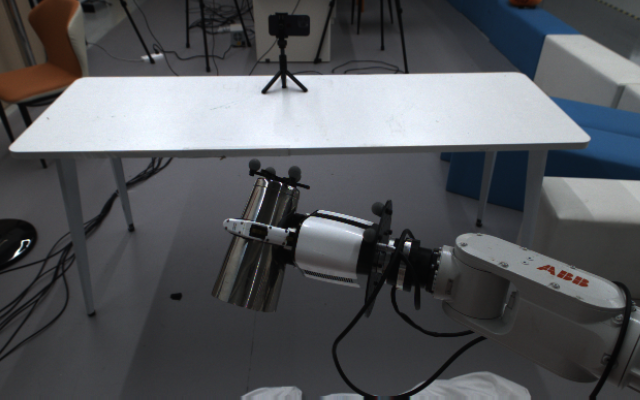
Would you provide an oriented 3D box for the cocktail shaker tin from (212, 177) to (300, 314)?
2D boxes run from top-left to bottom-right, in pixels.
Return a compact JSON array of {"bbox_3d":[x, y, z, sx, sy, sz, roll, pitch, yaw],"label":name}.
[{"bbox_3d":[-0.083,0.060,0.674,0.093,0.170,0.093,15,-6,2],"label":"cocktail shaker tin"}]
